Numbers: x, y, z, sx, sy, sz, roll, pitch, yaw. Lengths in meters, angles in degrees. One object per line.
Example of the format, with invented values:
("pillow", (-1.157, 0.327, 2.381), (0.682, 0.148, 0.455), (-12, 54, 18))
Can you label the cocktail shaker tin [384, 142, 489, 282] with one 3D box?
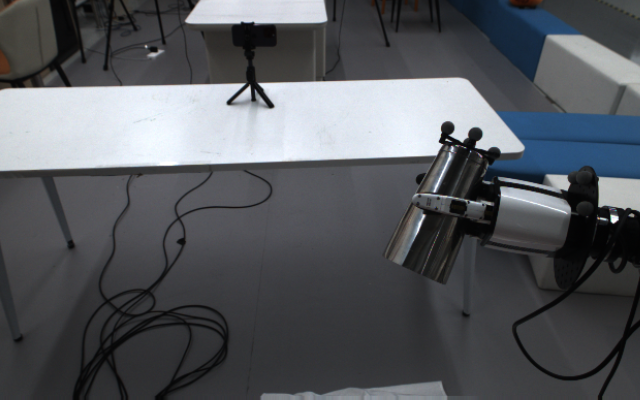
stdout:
("cocktail shaker tin", (0.162, 0.012, 0.645), (0.093, 0.170, 0.093), (23, 0, 0))
